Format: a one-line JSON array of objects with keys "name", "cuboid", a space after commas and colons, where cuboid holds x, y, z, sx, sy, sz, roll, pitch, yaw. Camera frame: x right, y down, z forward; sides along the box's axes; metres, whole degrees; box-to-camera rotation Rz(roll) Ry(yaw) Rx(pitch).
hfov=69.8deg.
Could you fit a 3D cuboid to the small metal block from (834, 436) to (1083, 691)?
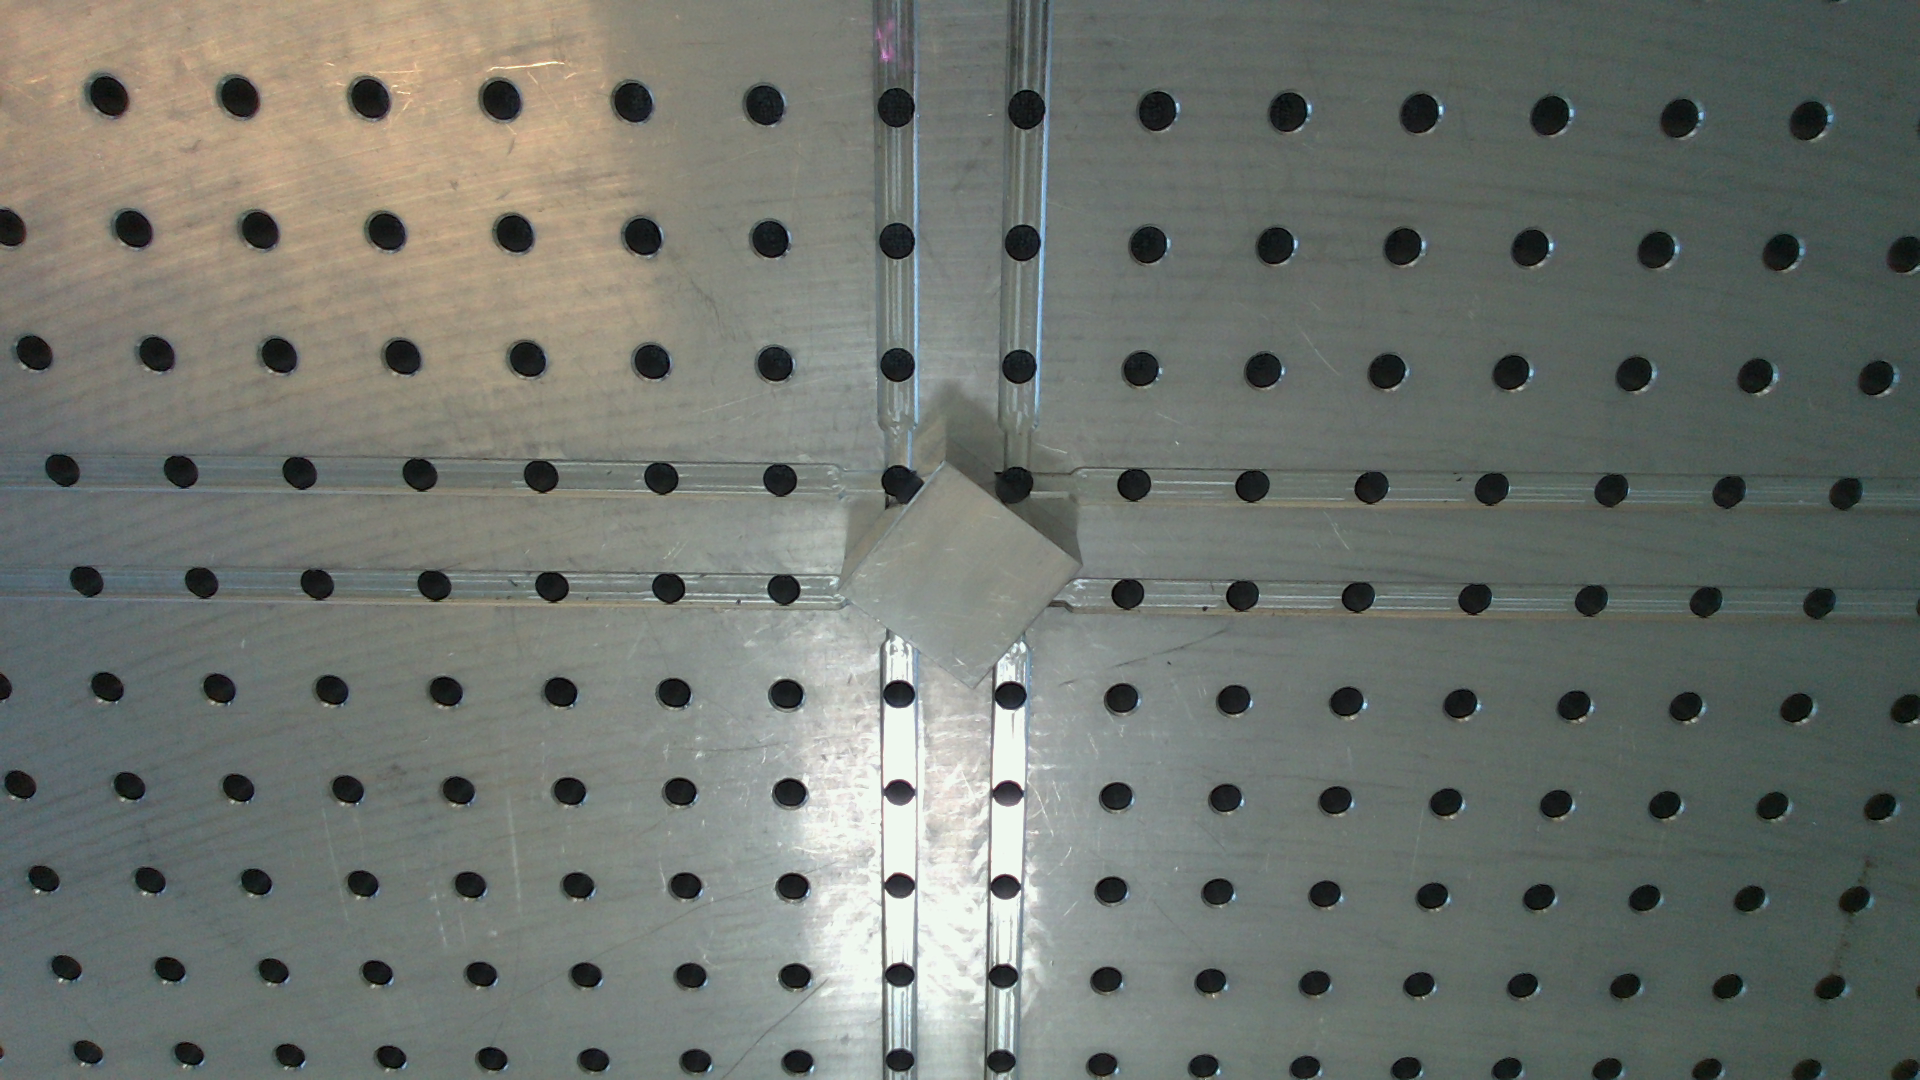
[{"name": "small metal block", "cuboid": [-0.001, 0.007, 0.399, 0.050, 0.025, 0.050, 36, 106, -13]}]
